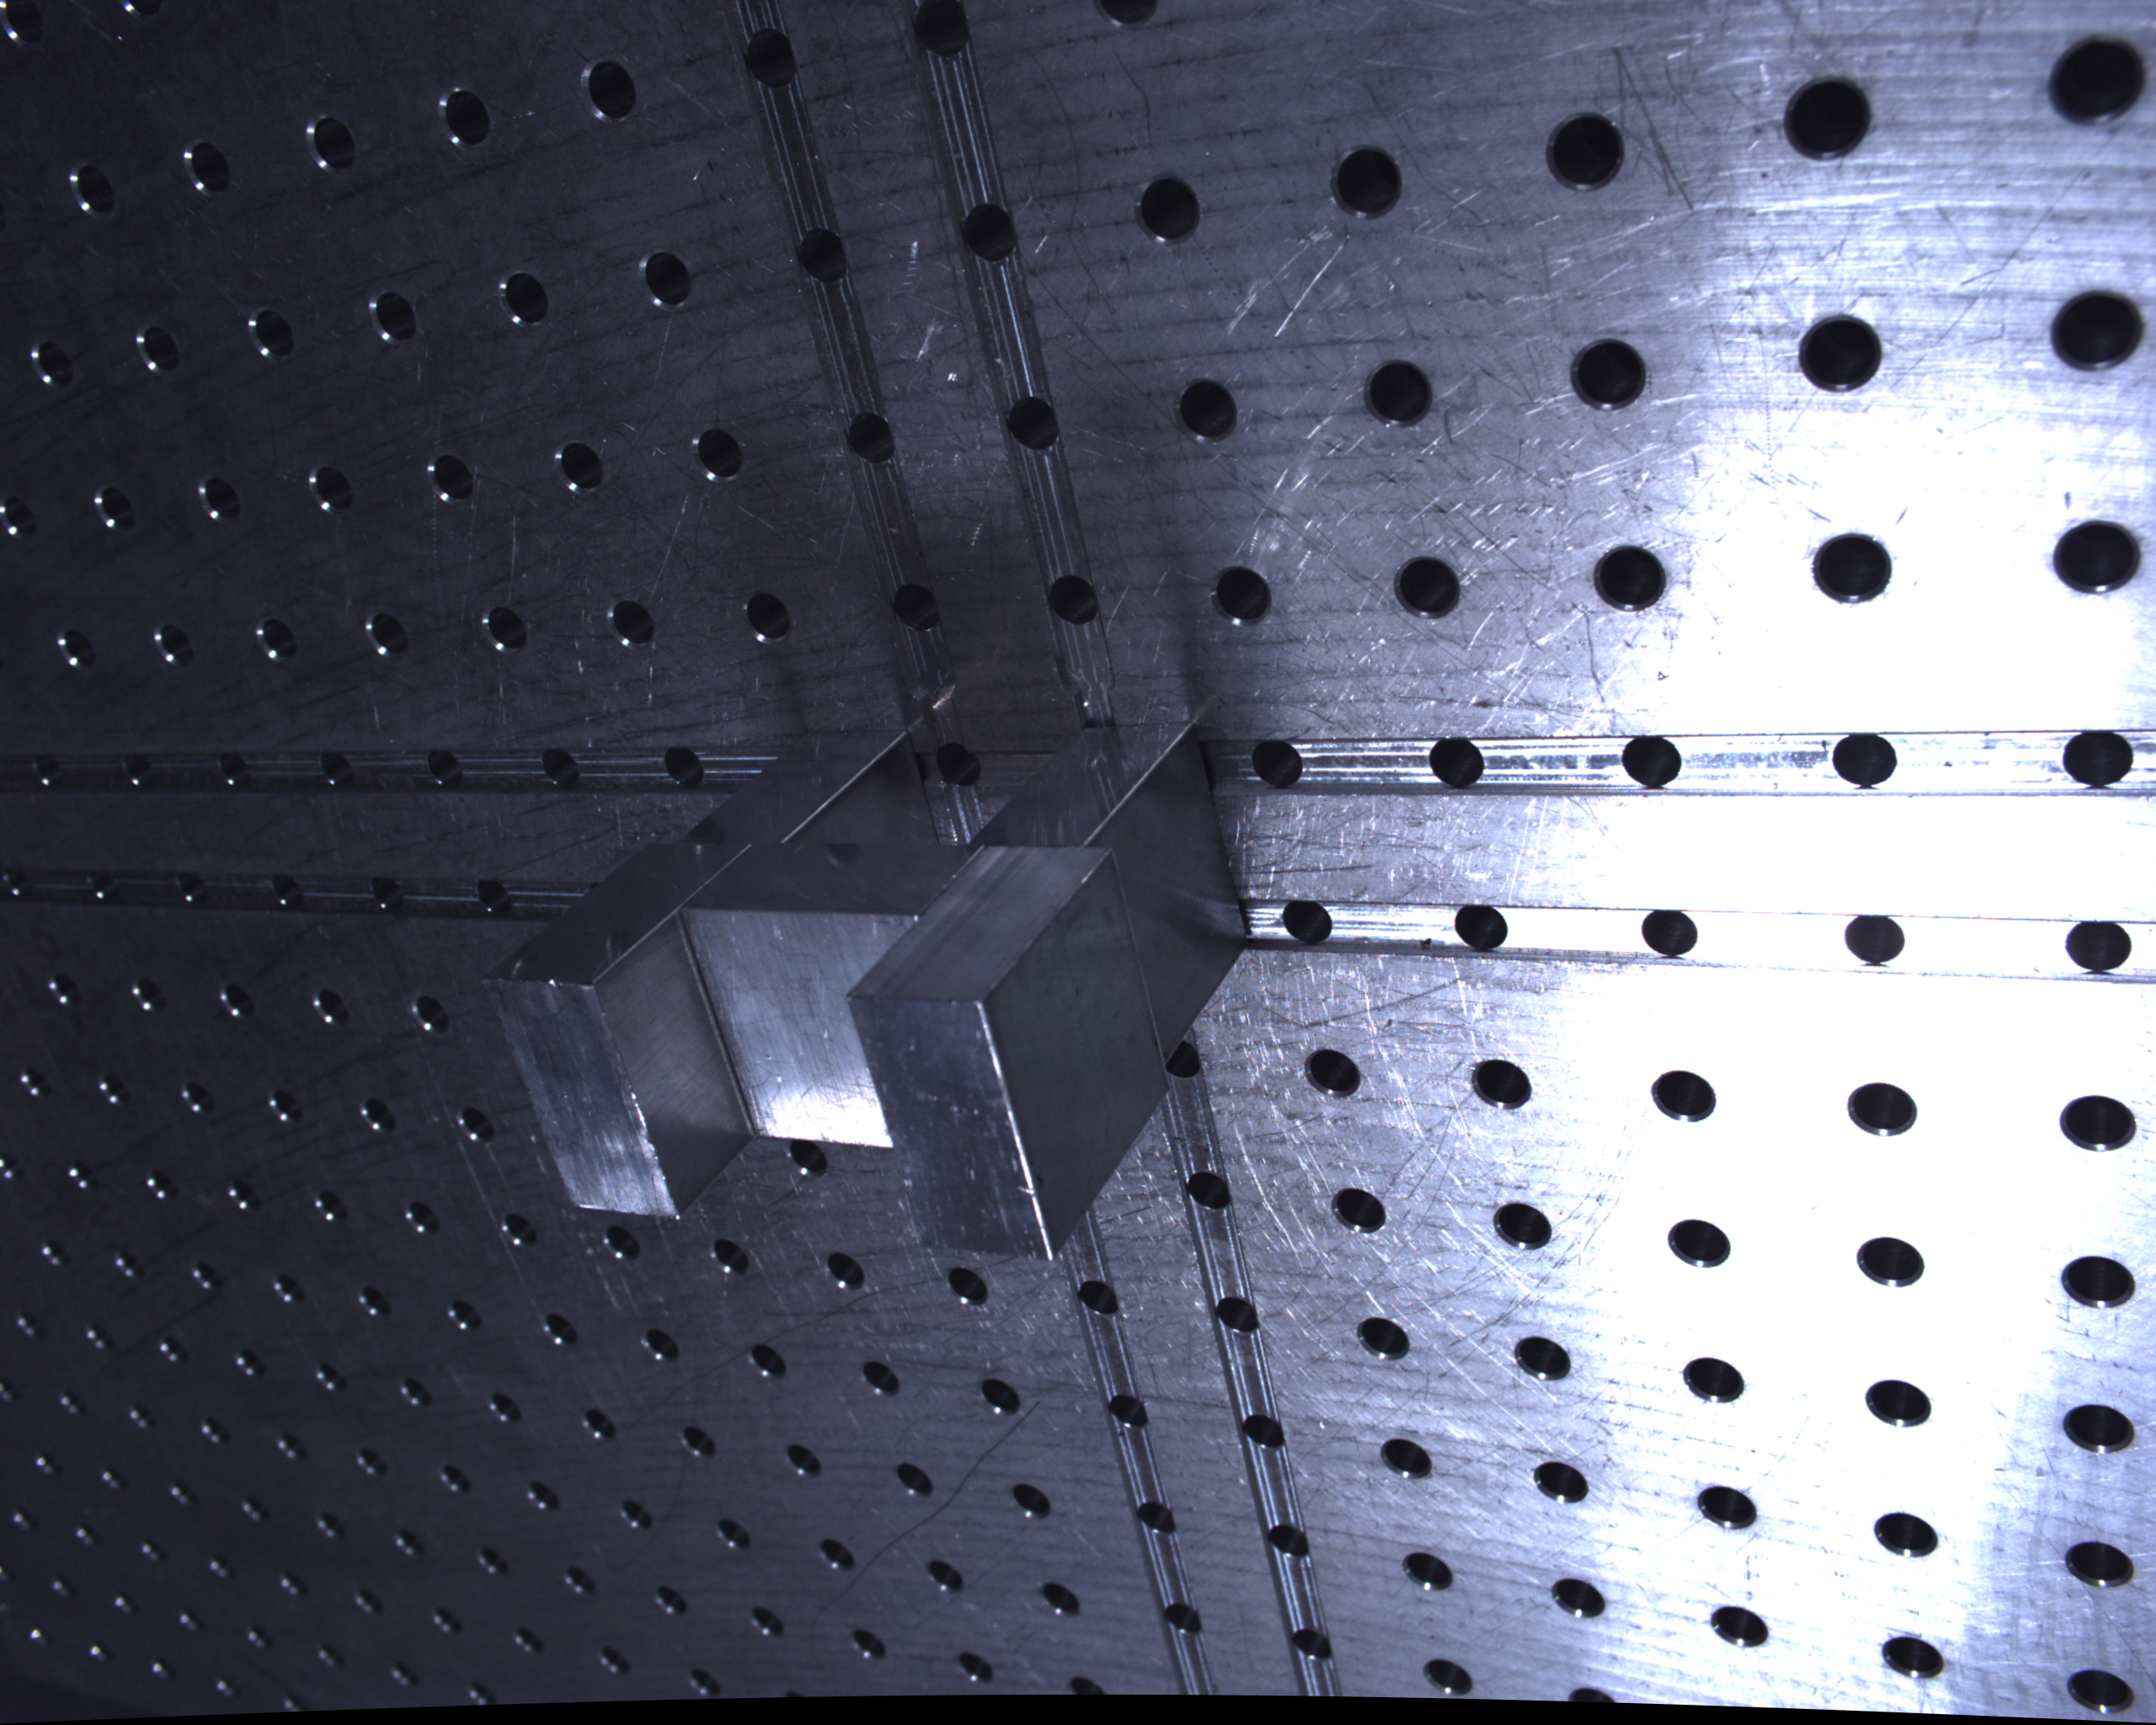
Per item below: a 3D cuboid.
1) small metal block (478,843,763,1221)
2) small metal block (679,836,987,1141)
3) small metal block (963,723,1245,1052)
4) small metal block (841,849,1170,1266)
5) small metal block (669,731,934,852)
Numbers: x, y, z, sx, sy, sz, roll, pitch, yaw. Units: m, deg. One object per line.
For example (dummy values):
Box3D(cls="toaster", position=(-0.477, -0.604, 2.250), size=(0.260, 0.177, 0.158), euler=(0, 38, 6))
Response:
Box3D(cls="small metal block", position=(-0.077, 0.030, 0.387), size=(0.025, 0.050, 0.050), euler=(1, 118, 28))
Box3D(cls="small metal block", position=(-0.038, 0.023, 0.380), size=(0.050, 0.025, 0.050), euler=(1, 119, 27))
Box3D(cls="small metal block", position=(0.006, 0.007, 0.394), size=(0.025, 0.050, 0.050), euler=(-1, 118, 28))
Box3D(cls="small metal block", position=(-0.010, 0.031, 0.352), size=(0.025, 0.050, 0.050), euler=(1, 118, 28))
Box3D(cls="small metal block", position=(-0.052, 0.007, 0.424), size=(0.025, 0.050, 0.050), euler=(1, 119, 27))
